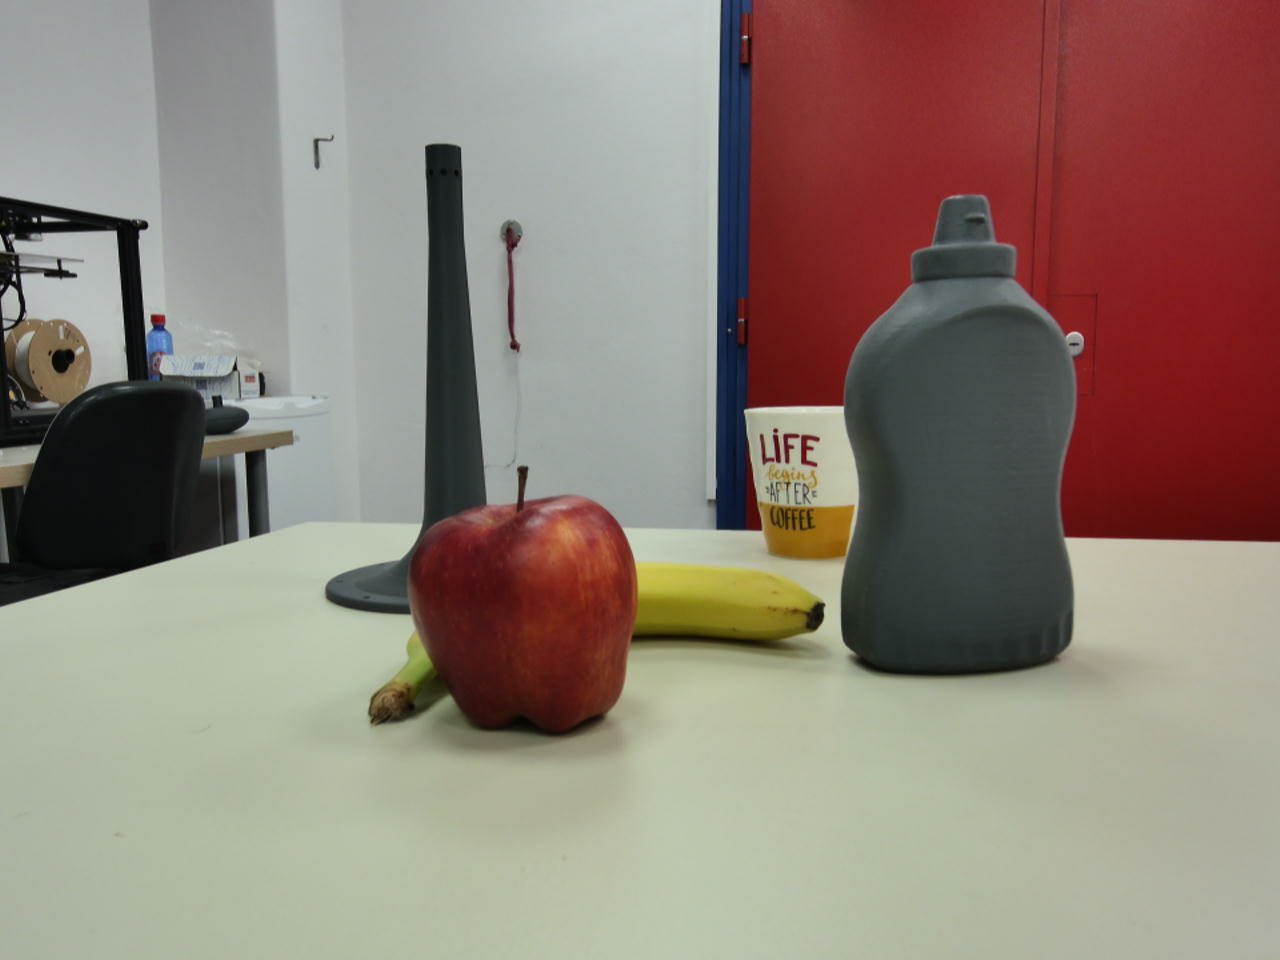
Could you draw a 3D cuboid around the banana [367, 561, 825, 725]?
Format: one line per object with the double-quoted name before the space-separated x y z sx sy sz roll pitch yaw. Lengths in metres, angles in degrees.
"banana" -0.024 0.061 0.433 0.196 0.041 0.094 -2 4 -23
